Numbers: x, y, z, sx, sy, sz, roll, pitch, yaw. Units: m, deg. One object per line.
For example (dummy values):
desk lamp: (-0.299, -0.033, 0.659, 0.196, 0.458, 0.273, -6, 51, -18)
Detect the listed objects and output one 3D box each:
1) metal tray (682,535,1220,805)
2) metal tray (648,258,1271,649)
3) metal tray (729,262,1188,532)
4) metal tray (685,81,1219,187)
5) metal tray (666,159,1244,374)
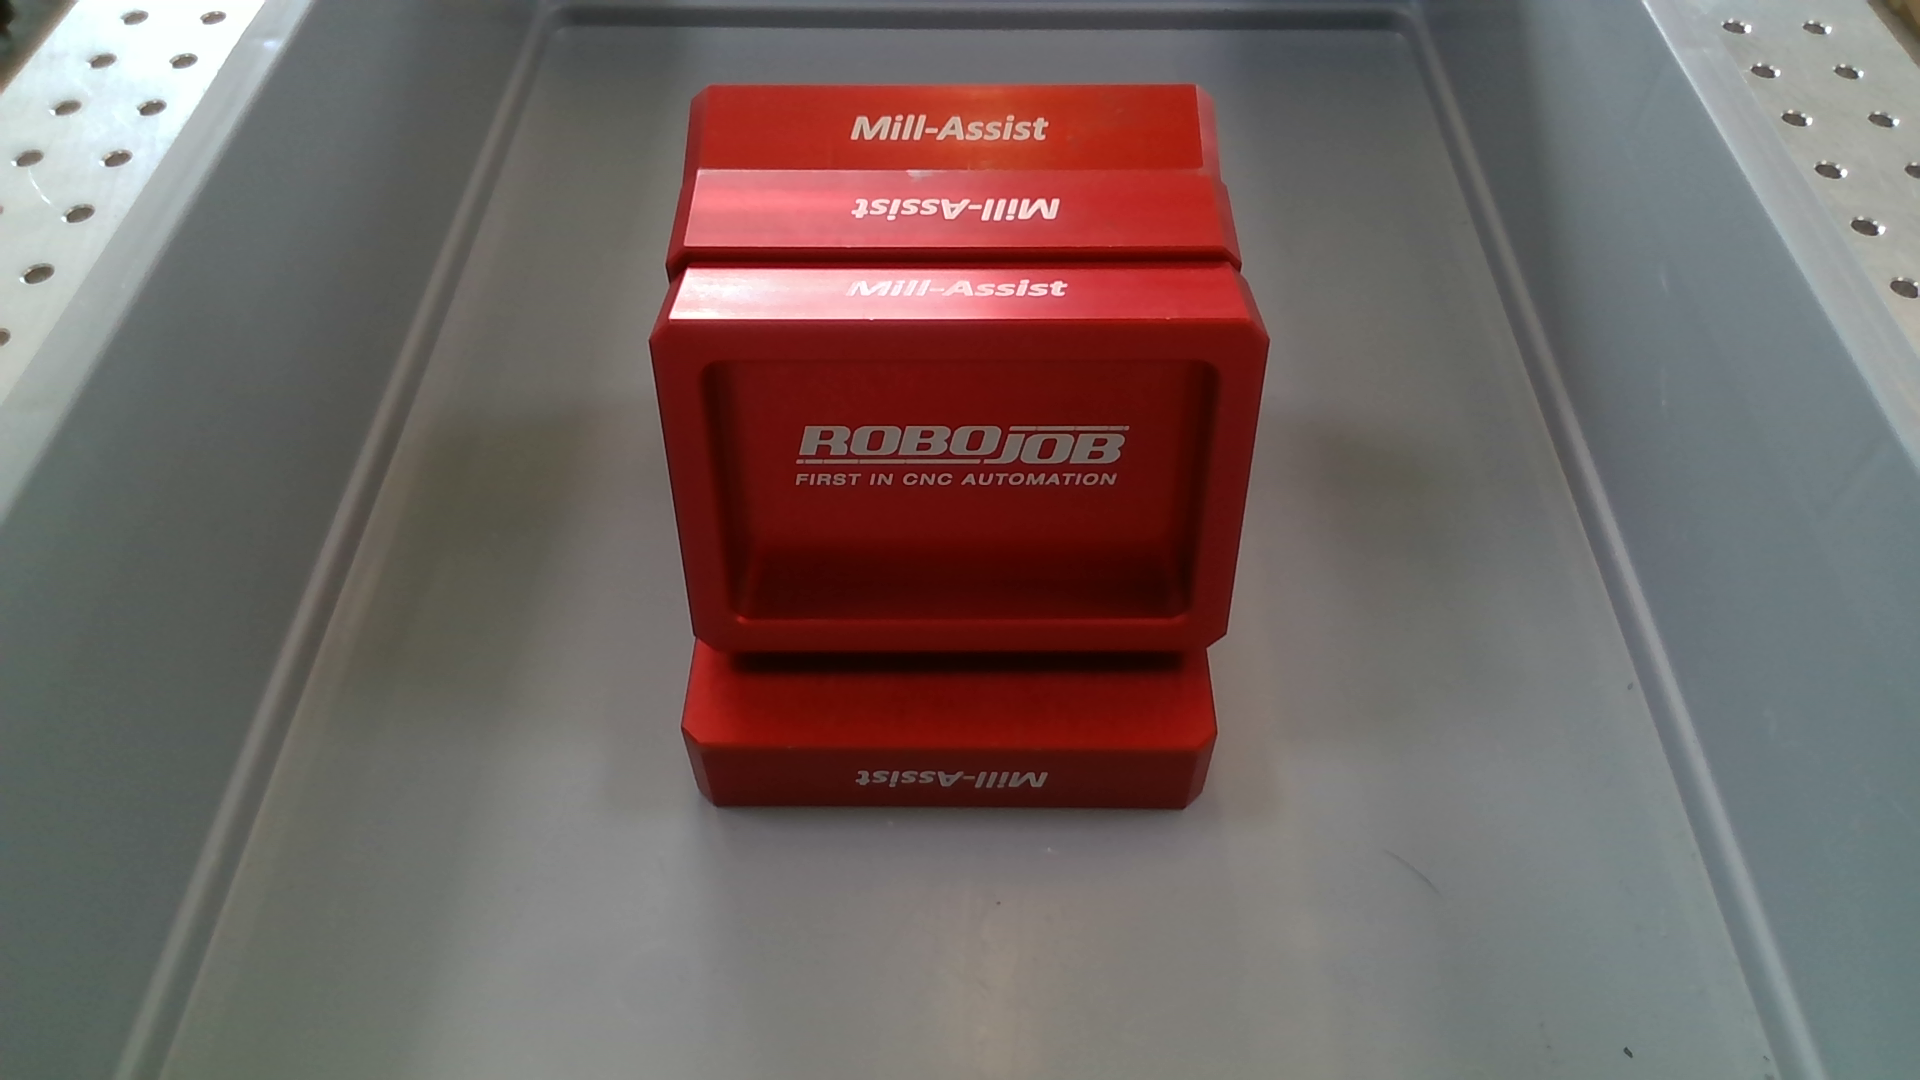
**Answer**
metal tray: (-0.002, 0.024, 0.369, 0.130, 0.030, 0.090, 0, 50, 0)
metal tray: (0.000, -0.018, 0.322, 0.130, 0.090, 0.030, 0, 36, 0)
metal tray: (0.000, -0.046, 0.426, 0.130, 0.030, 0.090, 0, 50, 0)
metal tray: (-0.002, -0.080, 0.374, 0.130, 0.090, 0.030, 0, 63, 0)
metal tray: (-0.002, -0.048, 0.349, 0.130, 0.090, 0.030, 1, 50, -2)
